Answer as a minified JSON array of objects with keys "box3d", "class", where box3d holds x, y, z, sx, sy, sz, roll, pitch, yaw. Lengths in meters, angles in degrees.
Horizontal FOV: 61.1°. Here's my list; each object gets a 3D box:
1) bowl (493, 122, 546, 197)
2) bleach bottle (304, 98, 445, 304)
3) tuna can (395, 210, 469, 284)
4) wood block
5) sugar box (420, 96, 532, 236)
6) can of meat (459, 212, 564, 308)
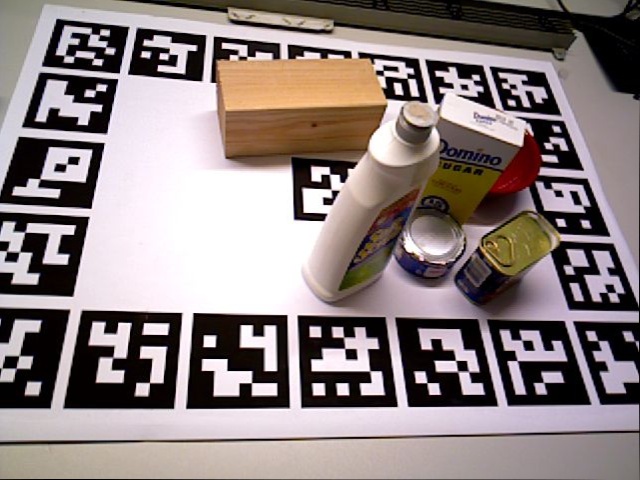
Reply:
[{"box3d":[0.221,-0.112,0.729,0.160,0.056,0.159,3,57,-5],"class":"bowl"},{"box3d":[0.053,-0.034,0.528,0.101,0.256,0.067,-21,63,-23],"class":"bleach bottle"},{"box3d":[0.130,0.009,0.644,0.085,0.034,0.084,4,60,-8],"class":"tuna can"},{"box3d":[-0.032,-0.169,0.698,0.203,0.092,0.090,-5,63,-16],"class":"wood block"},{"box3d":[0.160,-0.081,0.620,0.092,0.180,0.044,19,57,5],"class":"sugar box"},{"box3d":[0.218,0.024,0.630,0.100,0.086,0.057,-25,62,-26],"class":"can of meat"}]
